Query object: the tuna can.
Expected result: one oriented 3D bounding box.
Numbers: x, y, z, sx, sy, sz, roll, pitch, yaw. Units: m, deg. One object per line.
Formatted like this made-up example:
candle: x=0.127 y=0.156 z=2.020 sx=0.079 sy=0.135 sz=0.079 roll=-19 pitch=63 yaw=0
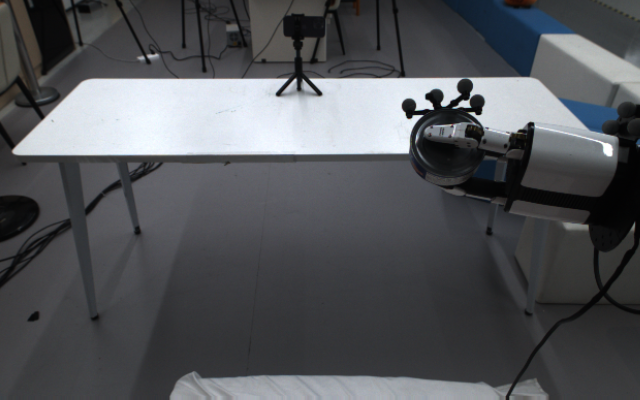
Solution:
tuna can: x=0.147 y=-0.062 z=0.562 sx=0.085 sy=0.034 sz=0.085 roll=-2 pitch=68 yaw=6
